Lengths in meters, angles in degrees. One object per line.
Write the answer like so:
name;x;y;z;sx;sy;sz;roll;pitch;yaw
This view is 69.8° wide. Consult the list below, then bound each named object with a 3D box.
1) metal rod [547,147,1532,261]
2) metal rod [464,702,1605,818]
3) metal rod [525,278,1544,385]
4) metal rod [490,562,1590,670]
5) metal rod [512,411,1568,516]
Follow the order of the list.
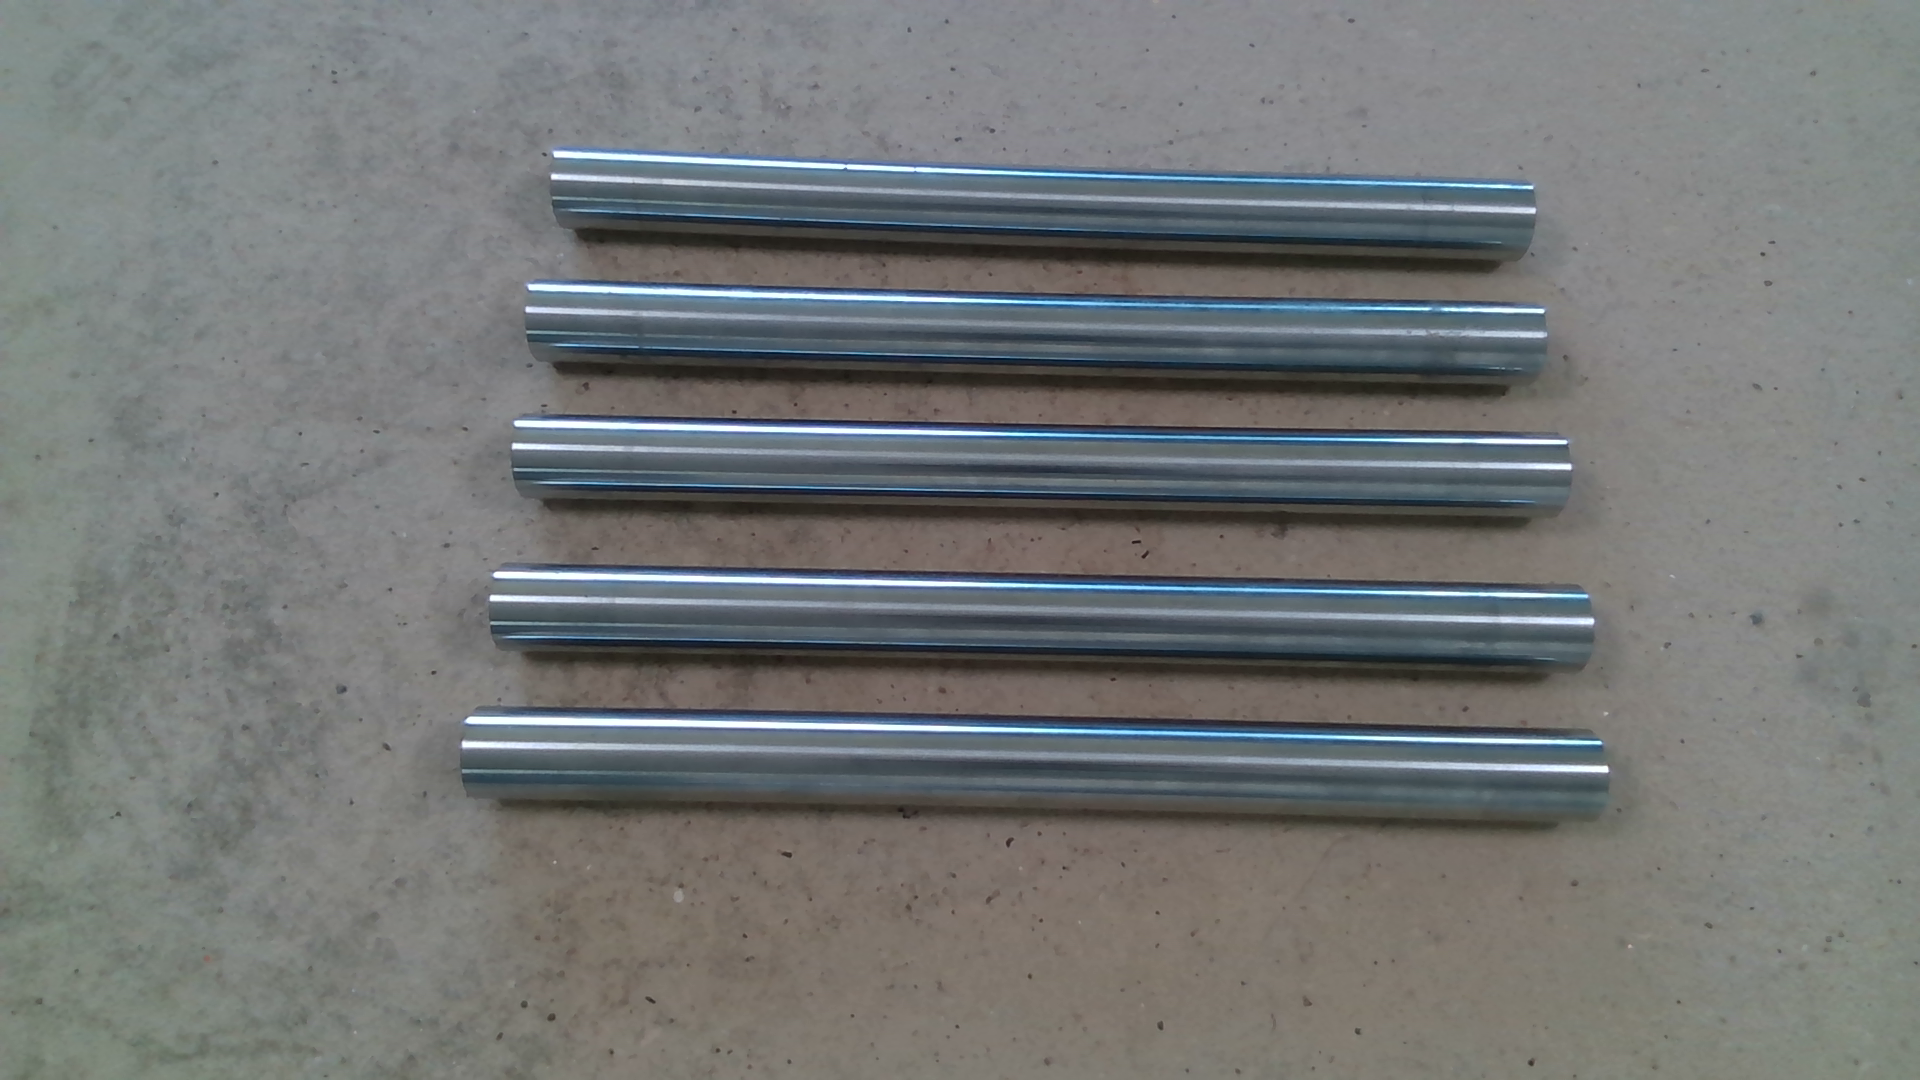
metal rod;0.024;-0.105;0.432;0.300;0.025;0.025;2;70;1
metal rod;0.019;0.060;0.374;0.300;0.025;0.025;1;70;0
metal rod;0.022;-0.063;0.418;0.300;0.025;0.025;1;70;0
metal rod;0.022;0.021;0.388;0.300;0.025;0.025;1;70;0
metal rod;0.022;-0.022;0.404;0.300;0.025;0.025;1;70;0
